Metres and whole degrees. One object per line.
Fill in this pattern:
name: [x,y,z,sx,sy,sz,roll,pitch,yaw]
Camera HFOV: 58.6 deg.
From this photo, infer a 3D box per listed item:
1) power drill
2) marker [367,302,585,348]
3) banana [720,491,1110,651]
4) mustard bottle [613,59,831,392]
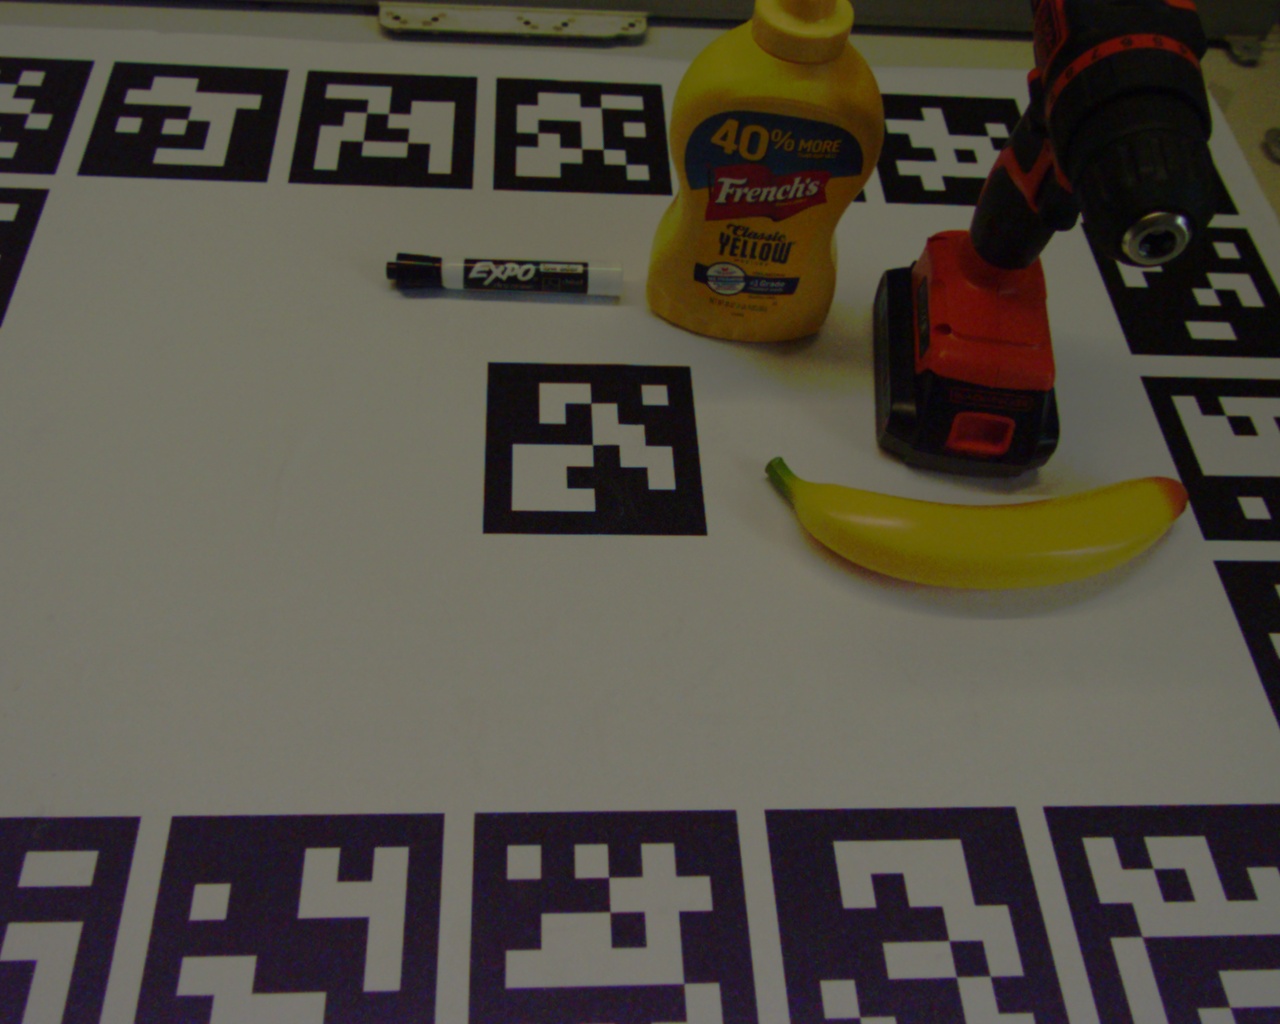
power drill: [0.152,-0.092,0.530,0.057,0.187,0.184,14,55,0]
marker: [-0.092,-0.105,0.638,0.121,0.019,0.020,3,58,-3]
banana: [0.135,0.033,0.562,0.197,0.039,0.074,7,59,1]
mustard bottle: [0.043,-0.140,0.571,0.096,0.191,0.058,11,57,0]
